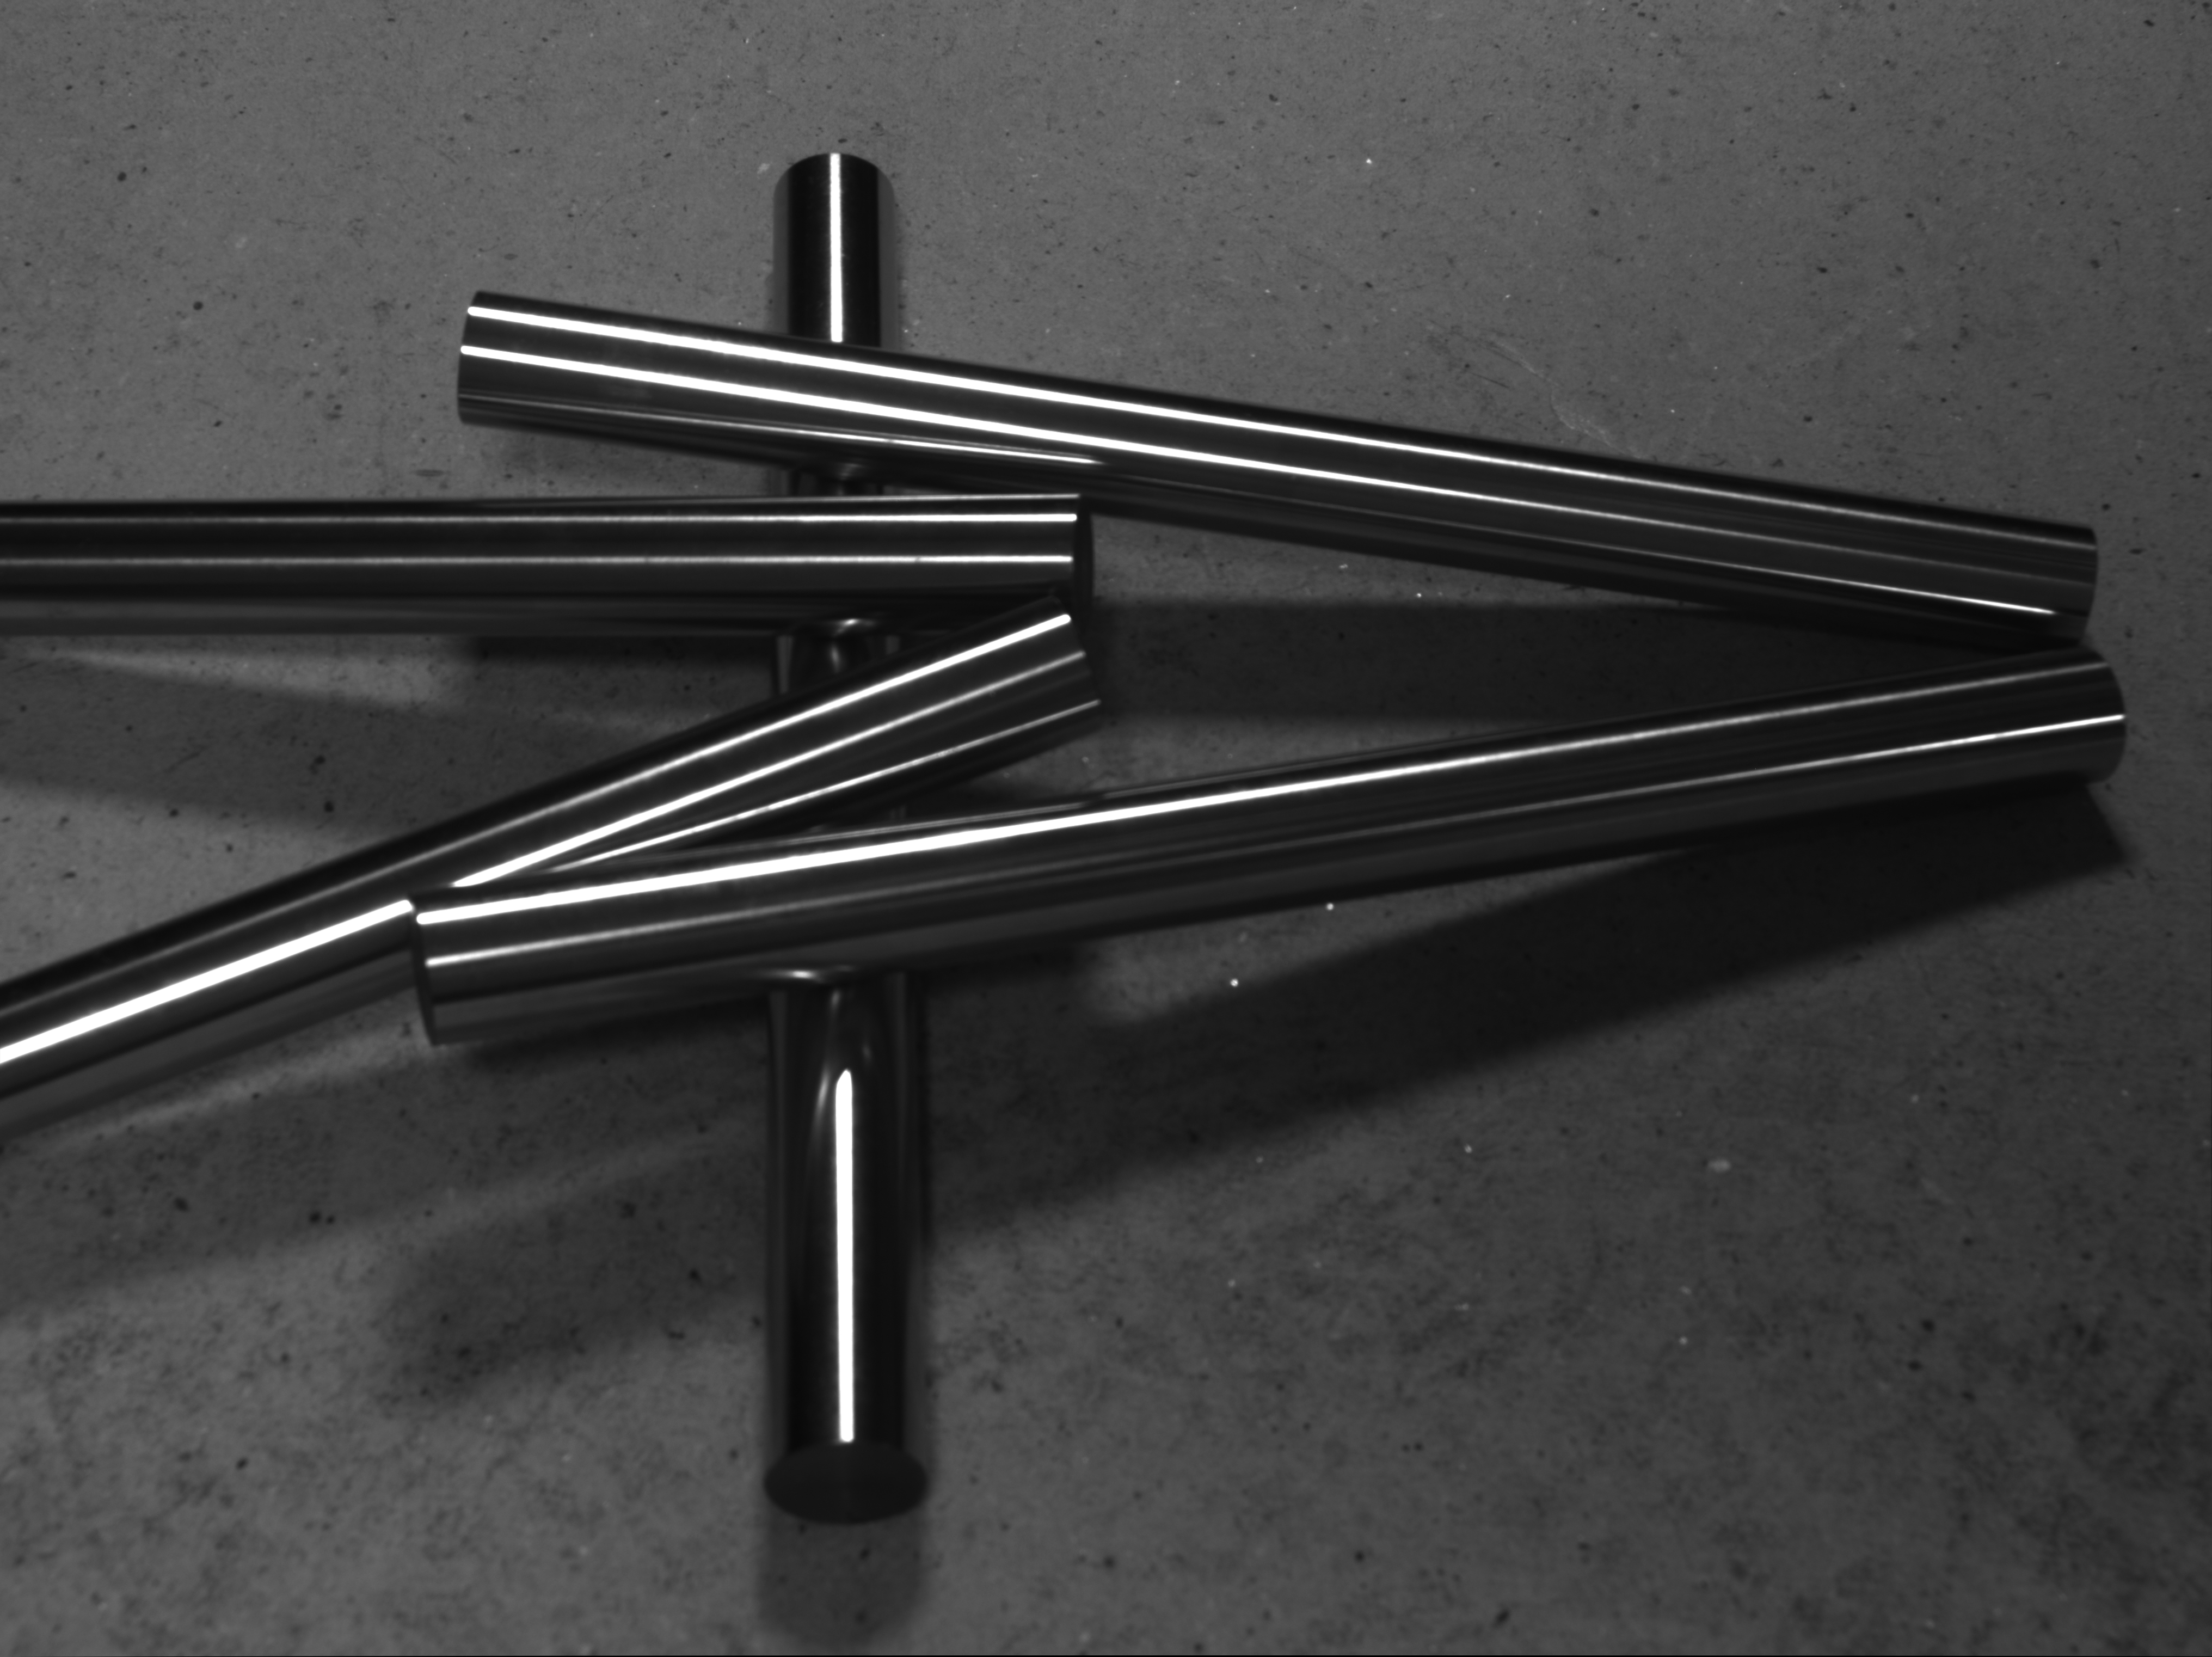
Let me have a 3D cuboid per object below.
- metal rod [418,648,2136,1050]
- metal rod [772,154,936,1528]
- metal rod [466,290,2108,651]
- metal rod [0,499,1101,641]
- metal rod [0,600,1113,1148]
[{"bbox_3d":[0.036,0.001,0.620,0.300,0.025,0.025,-9,50,-16],"label":"metal rod"},{"bbox_3d":[-0.046,-0.014,0.654,0.025,0.025,0.300,-2,50,-2],"label":"metal rod"},{"bbox_3d":[0.034,-0.065,0.676,0.300,0.025,0.025,8,50,-1],"label":"metal rod"},{"bbox_3d":[-0.150,-0.047,0.663,0.300,0.025,0.025,0,50,8],"label":"metal rod"},{"bbox_3d":[-0.142,0.025,0.603,0.300,0.025,0.025,-21,53,-10],"label":"metal rod"}]
